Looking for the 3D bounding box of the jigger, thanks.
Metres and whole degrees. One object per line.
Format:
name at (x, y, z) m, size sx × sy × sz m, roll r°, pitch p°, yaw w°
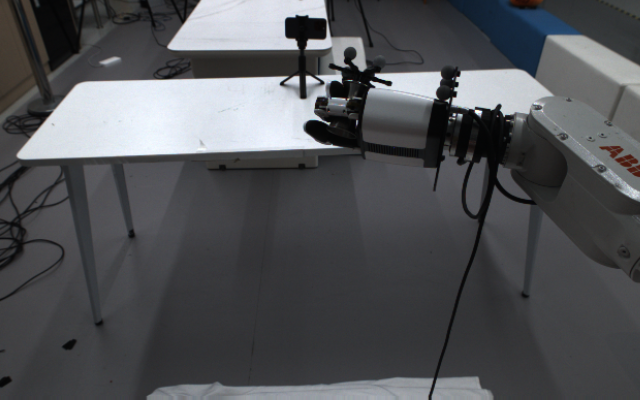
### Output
jigger at (0.040, -0.123, 0.653) m, size 0.043 × 0.071 × 0.043 m, roll 18°, pitch -6°, yaw 2°
